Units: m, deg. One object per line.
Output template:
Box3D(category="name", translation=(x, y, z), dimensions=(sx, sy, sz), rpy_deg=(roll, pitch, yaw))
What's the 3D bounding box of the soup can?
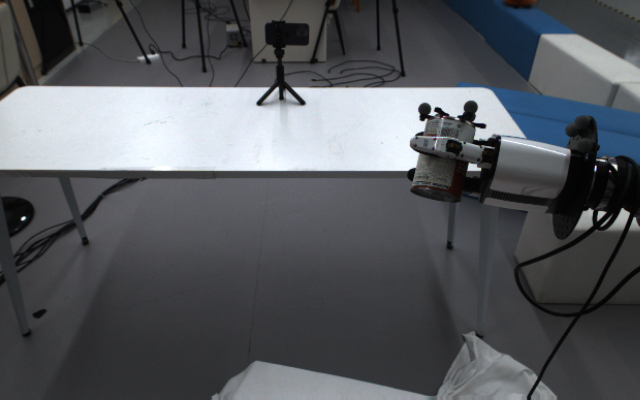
Box3D(category="soup can", translation=(0.166, -0.056, 0.652), dimensions=(0.067, 0.101, 0.067), rpy_deg=(14, -6, 2))
